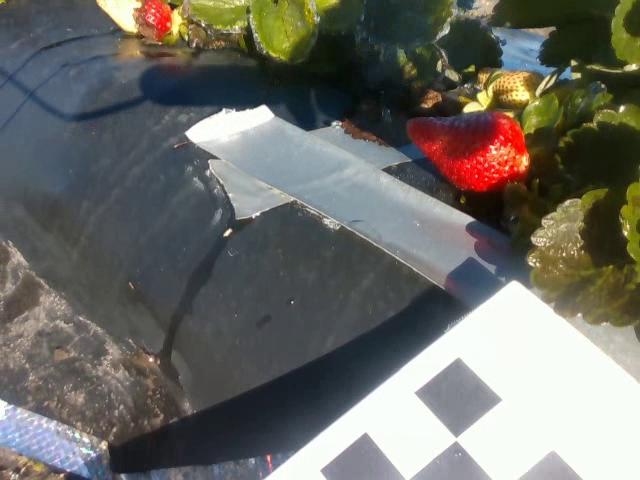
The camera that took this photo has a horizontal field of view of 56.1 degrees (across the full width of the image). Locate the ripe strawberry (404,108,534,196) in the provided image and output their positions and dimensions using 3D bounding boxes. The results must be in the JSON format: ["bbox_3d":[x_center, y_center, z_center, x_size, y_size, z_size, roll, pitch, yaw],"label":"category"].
[{"bbox_3d":[0.076,-0.049,0.322,0.065,0.062,0.057,15,-35,-30],"label":"ripe strawberry"}]
